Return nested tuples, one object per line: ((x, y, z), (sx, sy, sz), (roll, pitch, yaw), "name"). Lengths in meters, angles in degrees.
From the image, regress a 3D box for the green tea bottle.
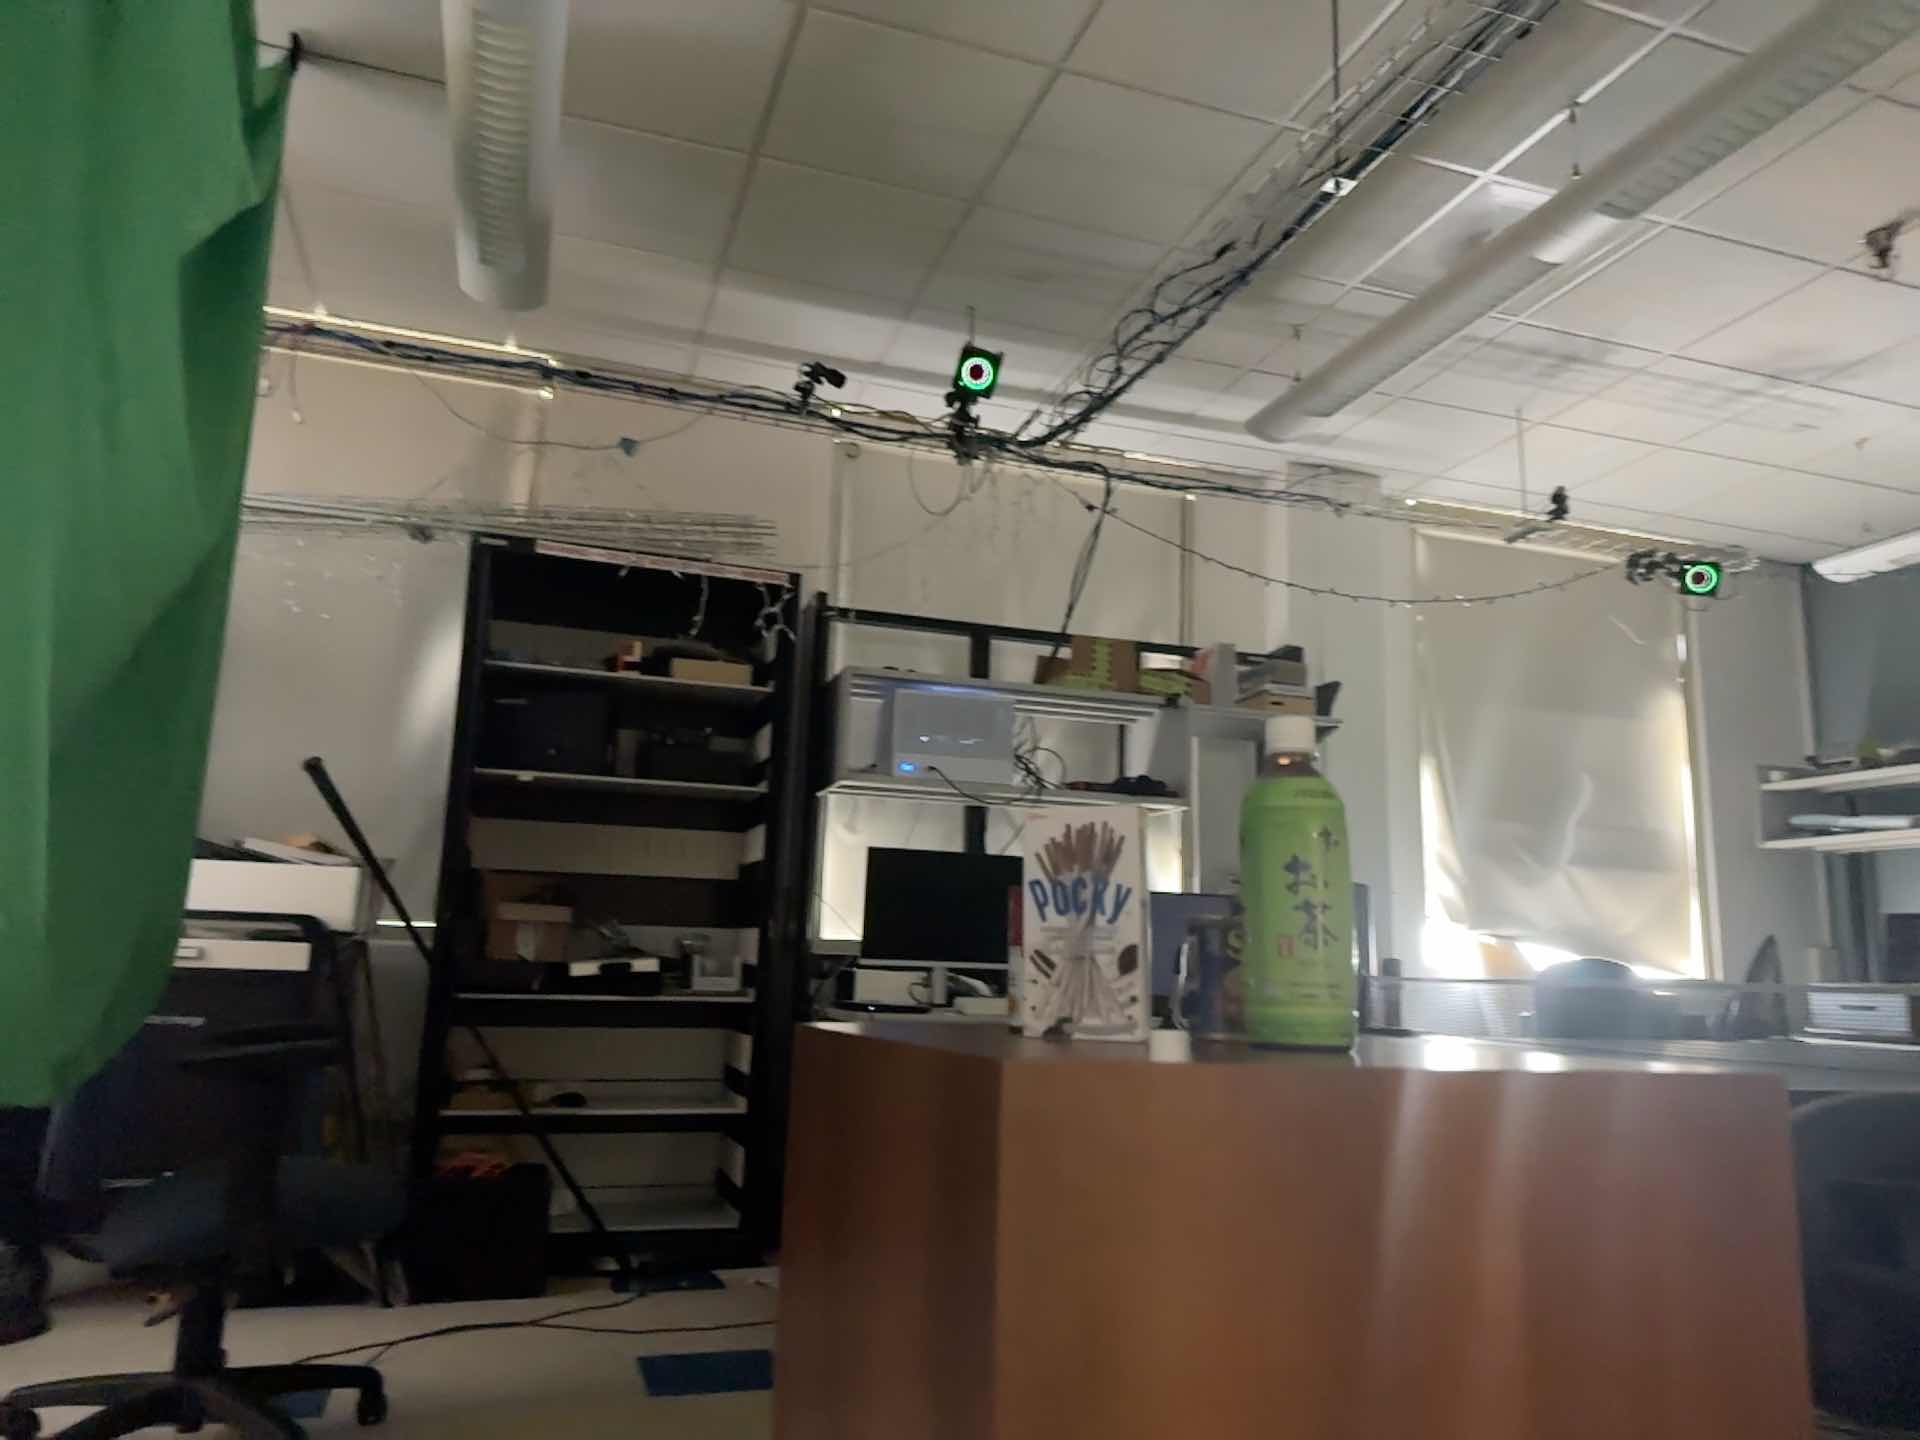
((0.201, 0.096, 0.849), (0.073, 0.212, 0.073), (-1, -9, 0), "green tea bottle")

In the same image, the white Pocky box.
((0.069, 0.128, 0.870), (0.084, 0.154, 0.028), (-2, -10, 24), "white Pocky box")

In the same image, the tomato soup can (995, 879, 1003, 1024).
((0.059, 0.165, 0.948), (0.067, 0.102, 0.067), (3, -10, 1), "tomato soup can")

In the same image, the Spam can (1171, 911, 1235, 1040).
((0.199, 0.178, 0.933), (0.100, 0.083, 0.056), (2, -10, -3), "Spam can")
